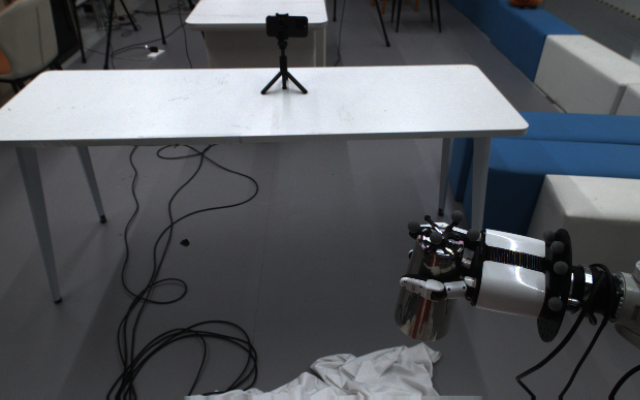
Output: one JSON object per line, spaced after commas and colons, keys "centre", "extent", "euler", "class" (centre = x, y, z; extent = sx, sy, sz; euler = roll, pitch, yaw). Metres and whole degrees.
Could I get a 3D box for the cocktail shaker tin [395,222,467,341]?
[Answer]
{"centre": [0.171, 0.119, 0.730], "extent": [0.093, 0.170, 0.093], "euler": [1, 39, 0], "class": "cocktail shaker tin"}
